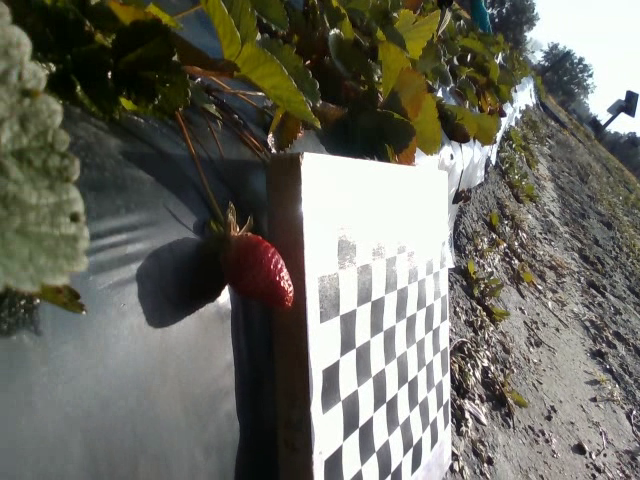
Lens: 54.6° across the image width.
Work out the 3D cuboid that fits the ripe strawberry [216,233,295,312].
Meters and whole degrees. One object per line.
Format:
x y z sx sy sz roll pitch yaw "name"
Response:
-0.022 0.014 0.230 0.037 0.033 0.034 41 21 17 "ripe strawberry"
